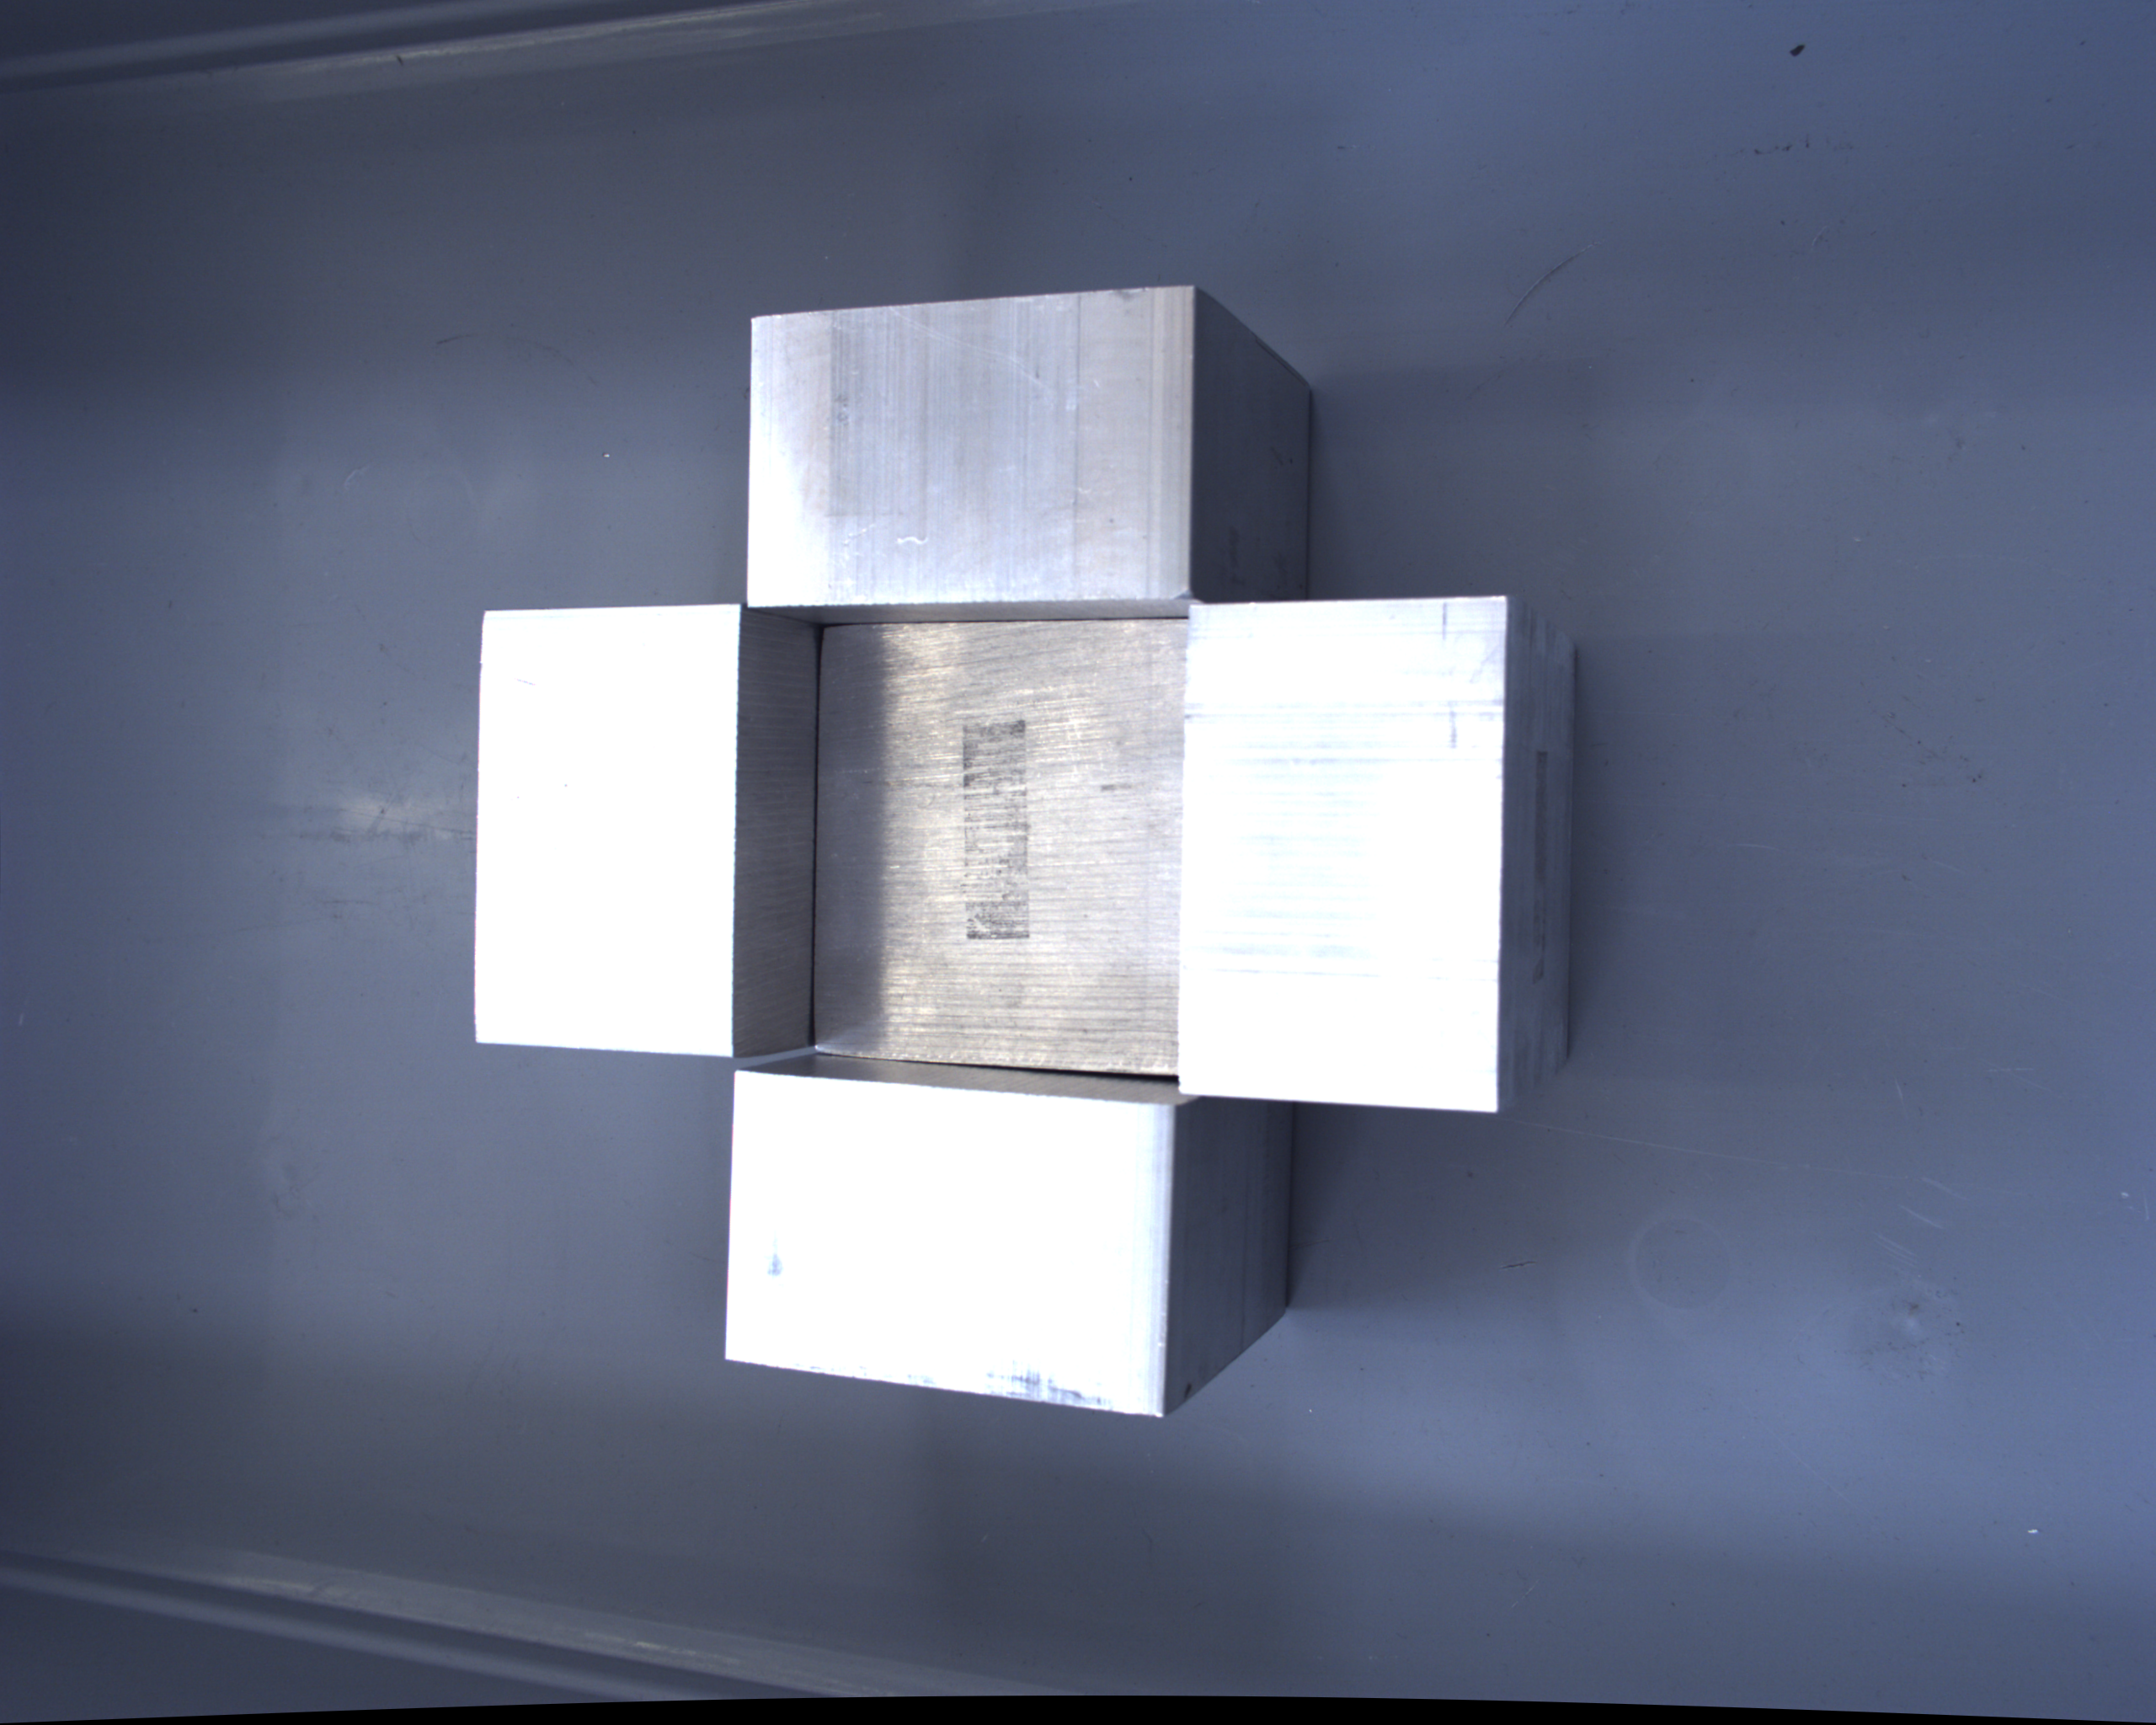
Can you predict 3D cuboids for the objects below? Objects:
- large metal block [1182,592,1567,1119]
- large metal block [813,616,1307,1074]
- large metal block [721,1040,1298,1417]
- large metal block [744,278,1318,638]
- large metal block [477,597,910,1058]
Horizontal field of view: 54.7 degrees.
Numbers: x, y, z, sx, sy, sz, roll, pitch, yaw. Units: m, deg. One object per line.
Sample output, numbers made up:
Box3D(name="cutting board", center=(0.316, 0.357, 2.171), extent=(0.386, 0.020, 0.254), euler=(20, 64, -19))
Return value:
Box3D(name="large metal block", center=(0.054, -0.002, 0.361), extent=(0.050, 0.080, 0.080), euler=(1, 90, 20))
Box3D(name="large metal block", center=(-0.002, -0.004, 0.395), extent=(0.080, 0.050, 0.080), euler=(1, 90, 20))
Box3D(name="large metal block", center=(-0.009, 0.062, 0.383), extent=(0.080, 0.080, 0.050), euler=(2, 91, 20))
Box3D(name="large metal block", center=(-0.005, -0.068, 0.381), extent=(0.080, 0.080, 0.050), euler=(1, 91, 20))
Box3D(name="large metal block", center=(-0.070, -0.007, 0.405), extent=(0.050, 0.080, 0.080), euler=(1, 90, 20))
